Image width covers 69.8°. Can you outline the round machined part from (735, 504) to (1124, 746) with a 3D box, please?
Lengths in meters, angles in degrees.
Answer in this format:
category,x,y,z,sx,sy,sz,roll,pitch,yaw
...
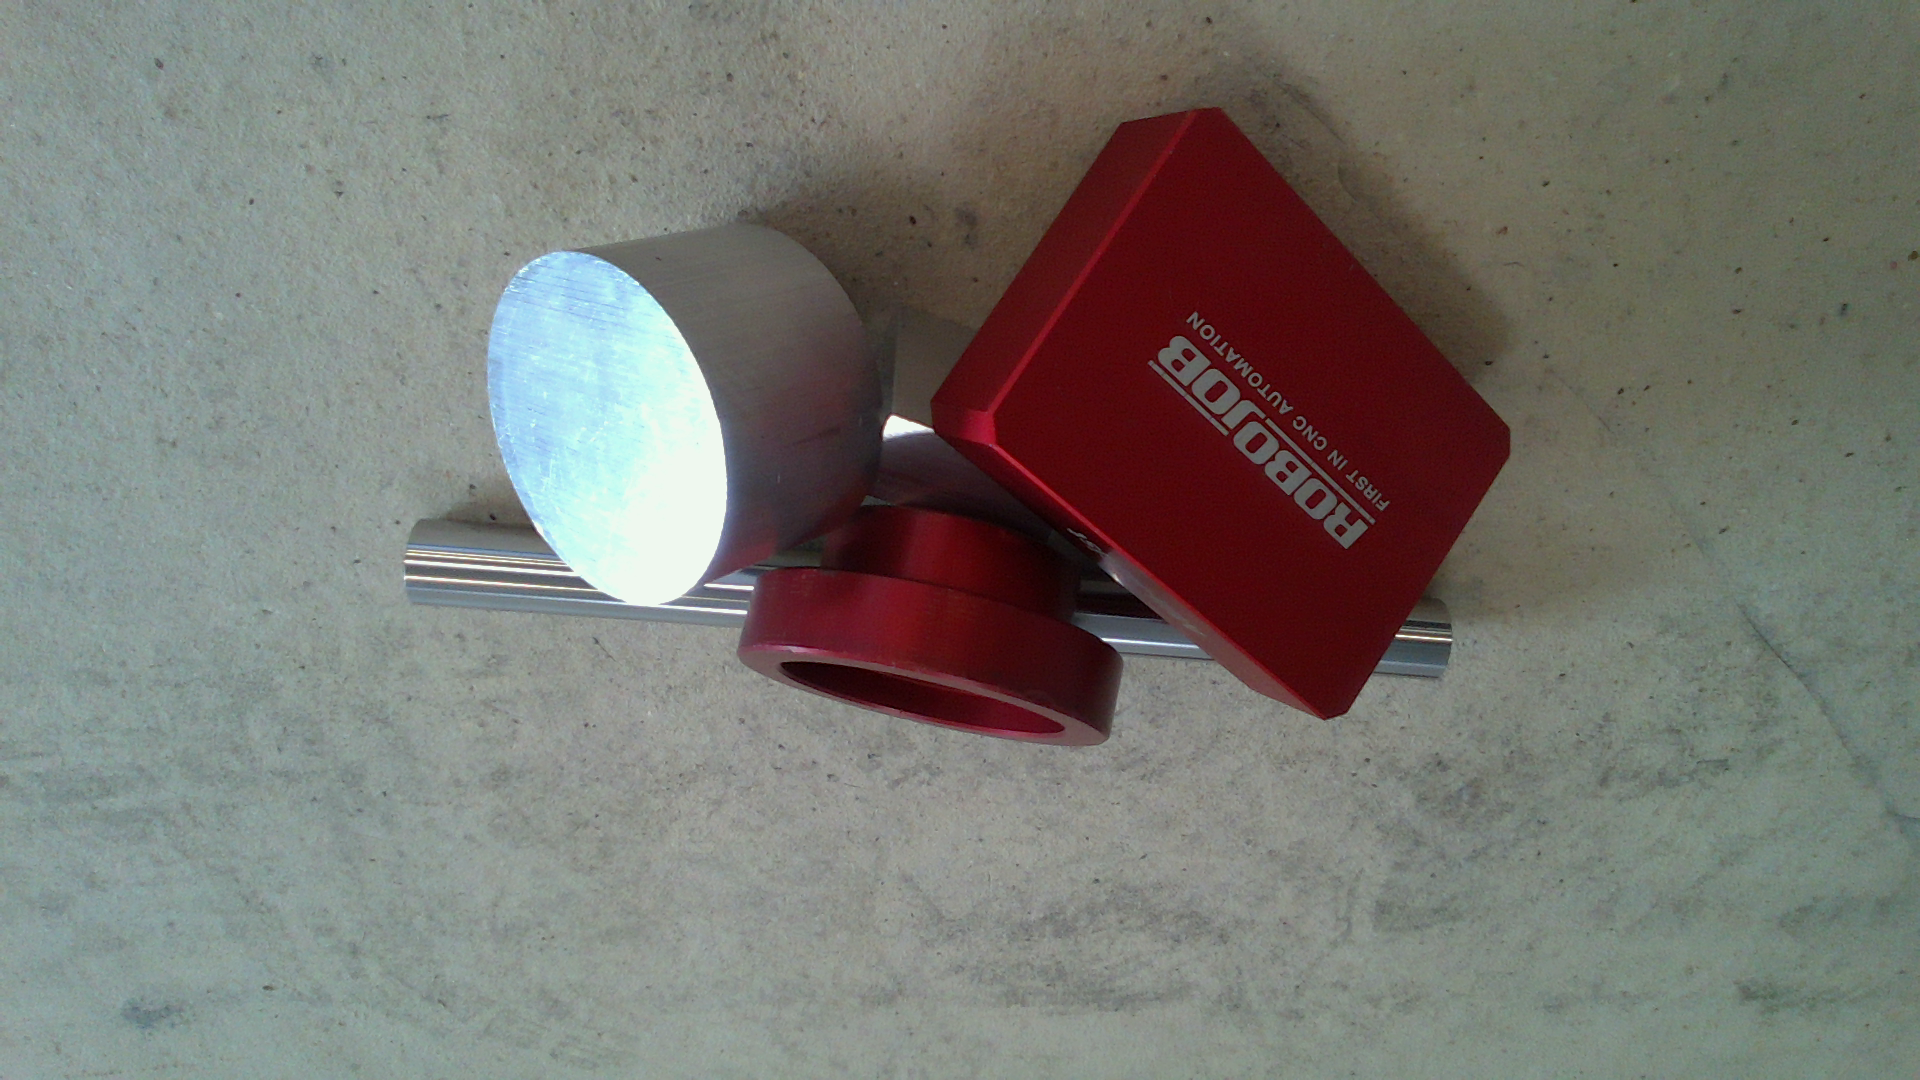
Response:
category,x,y,z,sx,sy,sz,roll,pitch,yaw
round machined part,-0.006,0.022,0.357,0.098,0.042,0.098,12,165,3

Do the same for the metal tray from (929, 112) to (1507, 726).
category,x,y,z,sx,sy,sz,roll,pitch,yaw
metal tray,0.067,-0.026,0.333,0.130,0.030,0.090,38,82,-28

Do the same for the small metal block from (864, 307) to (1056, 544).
category,x,y,z,sx,sy,sz,roll,pitch,yaw
small metal block,0.002,-0.027,0.349,0.050,0.050,0.025,18,128,-15

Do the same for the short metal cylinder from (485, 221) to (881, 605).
category,x,y,z,sx,sy,sz,roll,pitch,yaw
short metal cylinder,-0.065,-0.031,0.322,0.080,0.050,0.080,16,117,35

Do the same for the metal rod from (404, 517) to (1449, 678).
category,x,y,z,sx,sy,sz,roll,pitch,yaw
metal rod,-0.006,0.018,0.406,0.300,0.025,0.025,5,130,-4
